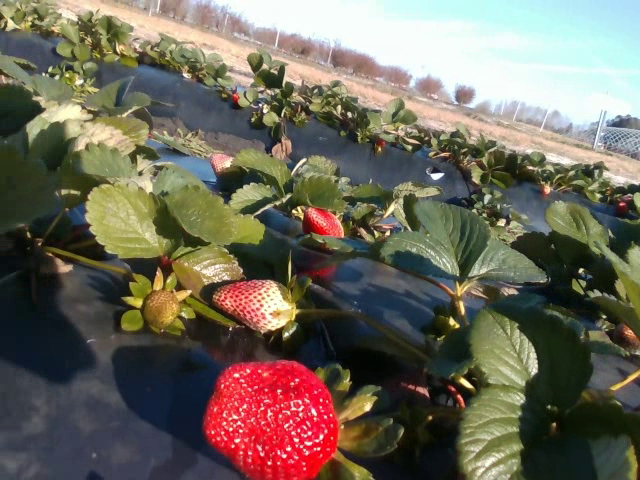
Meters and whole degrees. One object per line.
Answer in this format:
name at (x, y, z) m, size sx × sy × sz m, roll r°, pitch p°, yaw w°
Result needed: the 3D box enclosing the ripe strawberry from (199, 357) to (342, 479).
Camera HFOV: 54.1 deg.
ripe strawberry at (-0.021, 0.066, 0.224) m, size 0.058 × 0.065 × 0.062 m, roll -26°, pitch -39°, yaw 12°
